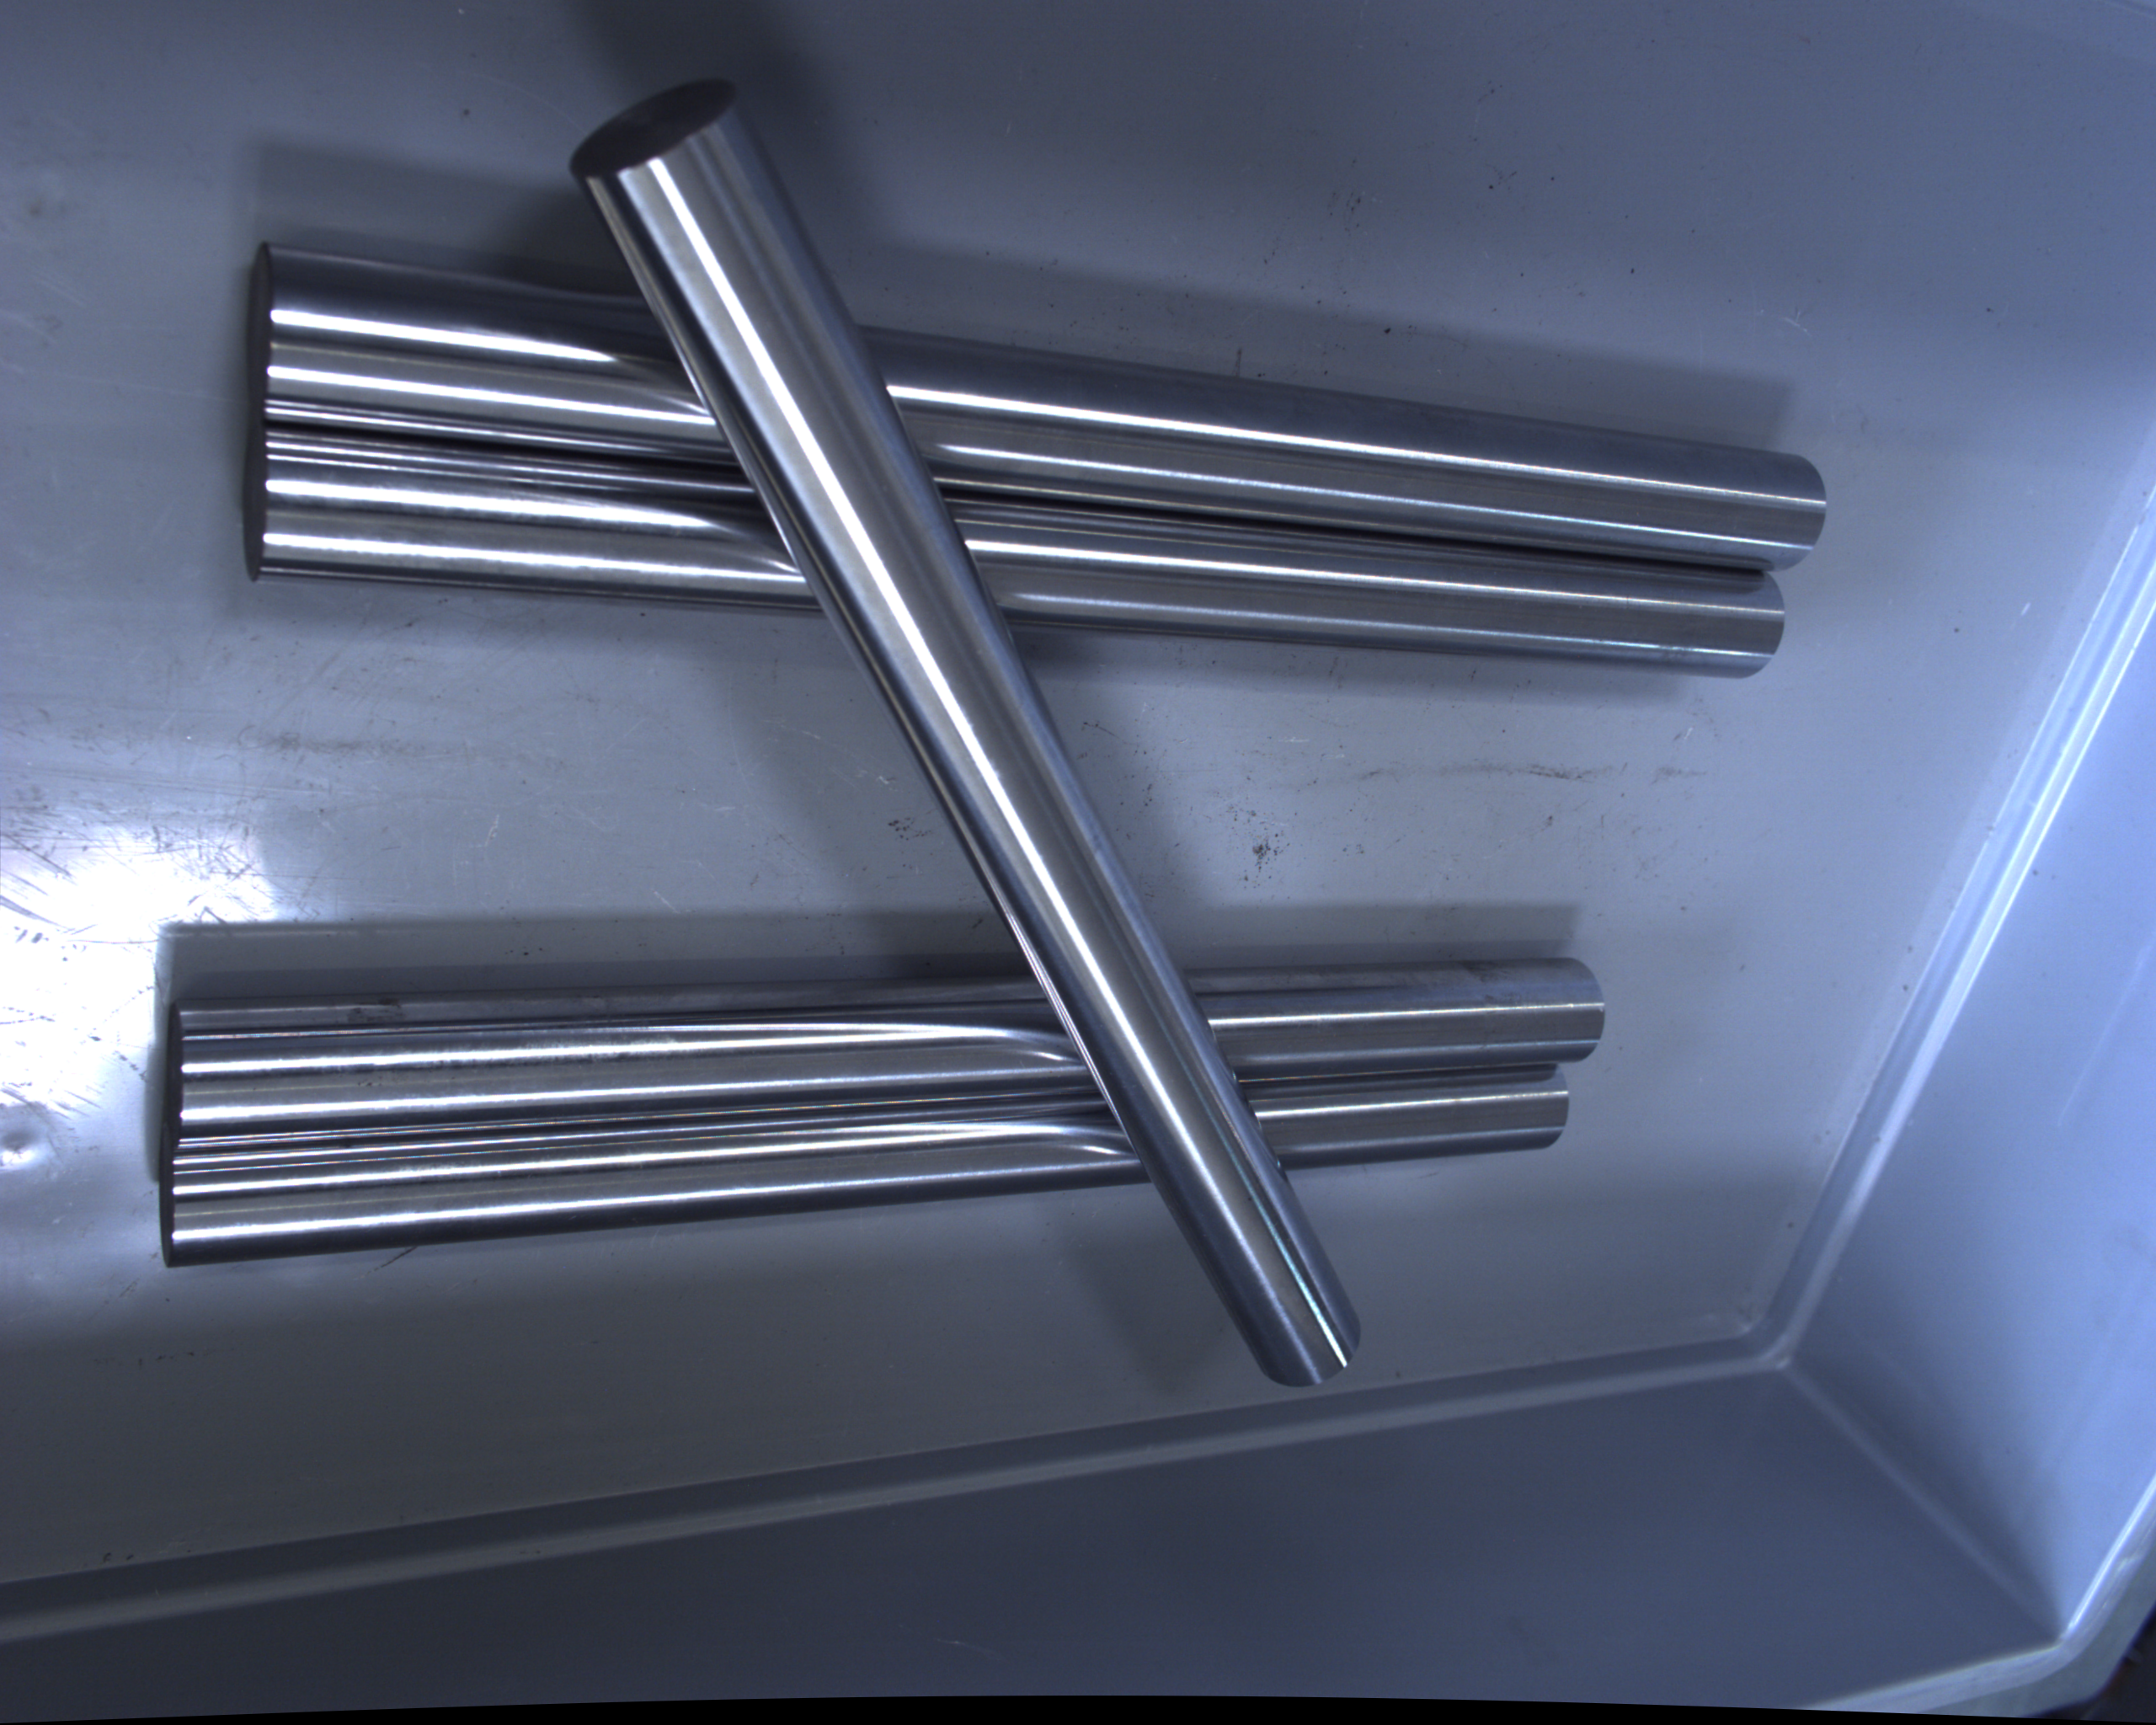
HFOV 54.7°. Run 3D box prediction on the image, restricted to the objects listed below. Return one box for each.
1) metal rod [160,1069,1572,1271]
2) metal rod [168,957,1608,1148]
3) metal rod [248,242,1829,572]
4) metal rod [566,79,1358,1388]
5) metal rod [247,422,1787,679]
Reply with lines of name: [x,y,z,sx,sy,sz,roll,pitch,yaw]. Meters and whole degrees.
metal rod: [-0.023,0.057,0.429,0.303,0.025,0.025,0,119,-29]
metal rod: [-0.017,0.035,0.418,0.303,0.025,0.025,0,119,-29]
metal rod: [0.016,-0.074,0.369,0.303,0.025,0.025,0,118,-29]
metal rod: [-0.004,0.004,0.375,0.025,0.025,0.299,-33,129,-7]
metal rod: [0.012,-0.053,0.380,0.303,0.025,0.025,0,118,-29]
